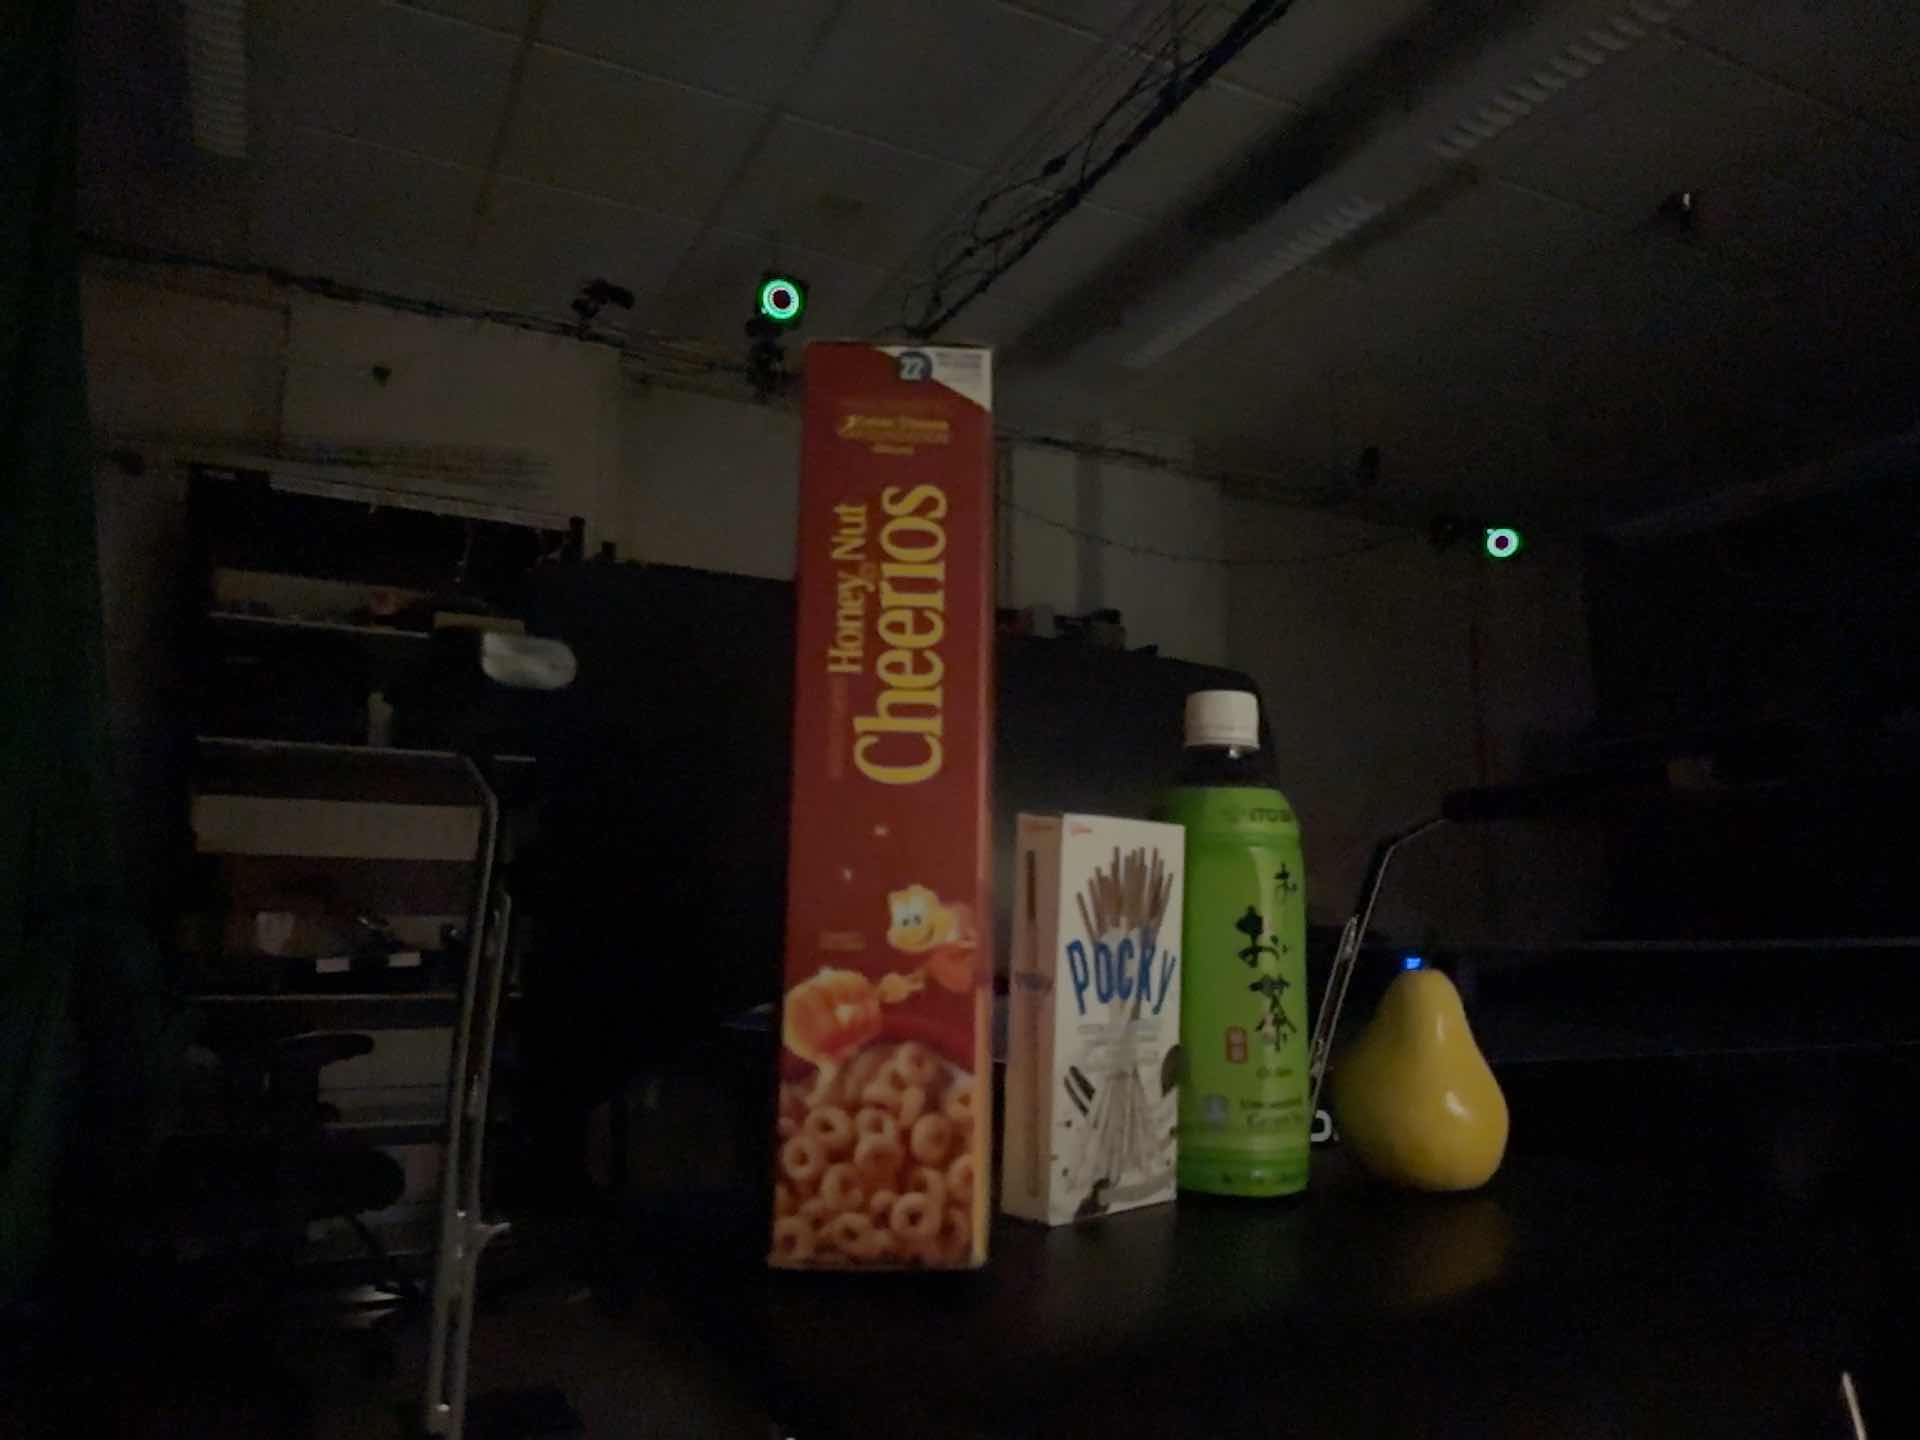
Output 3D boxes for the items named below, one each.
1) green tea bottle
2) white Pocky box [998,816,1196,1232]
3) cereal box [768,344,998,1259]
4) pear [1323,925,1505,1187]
[{"bbox_3d":[0.114,0.094,0.594,0.073,0.212,0.073,-2,-6,0],"label":"green tea bottle"},{"bbox_3d":[0.055,0.117,0.538,0.084,0.154,0.028,8,-5,-44],"label":"white Pocky box"},{"bbox_3d":[-0.031,0.033,0.540,0.065,0.297,0.195,2,-10,-5],"label":"cereal box"},{"bbox_3d":[0.200,0.149,0.607,0.080,0.111,0.080,-4,-10,-1],"label":"pear"}]
